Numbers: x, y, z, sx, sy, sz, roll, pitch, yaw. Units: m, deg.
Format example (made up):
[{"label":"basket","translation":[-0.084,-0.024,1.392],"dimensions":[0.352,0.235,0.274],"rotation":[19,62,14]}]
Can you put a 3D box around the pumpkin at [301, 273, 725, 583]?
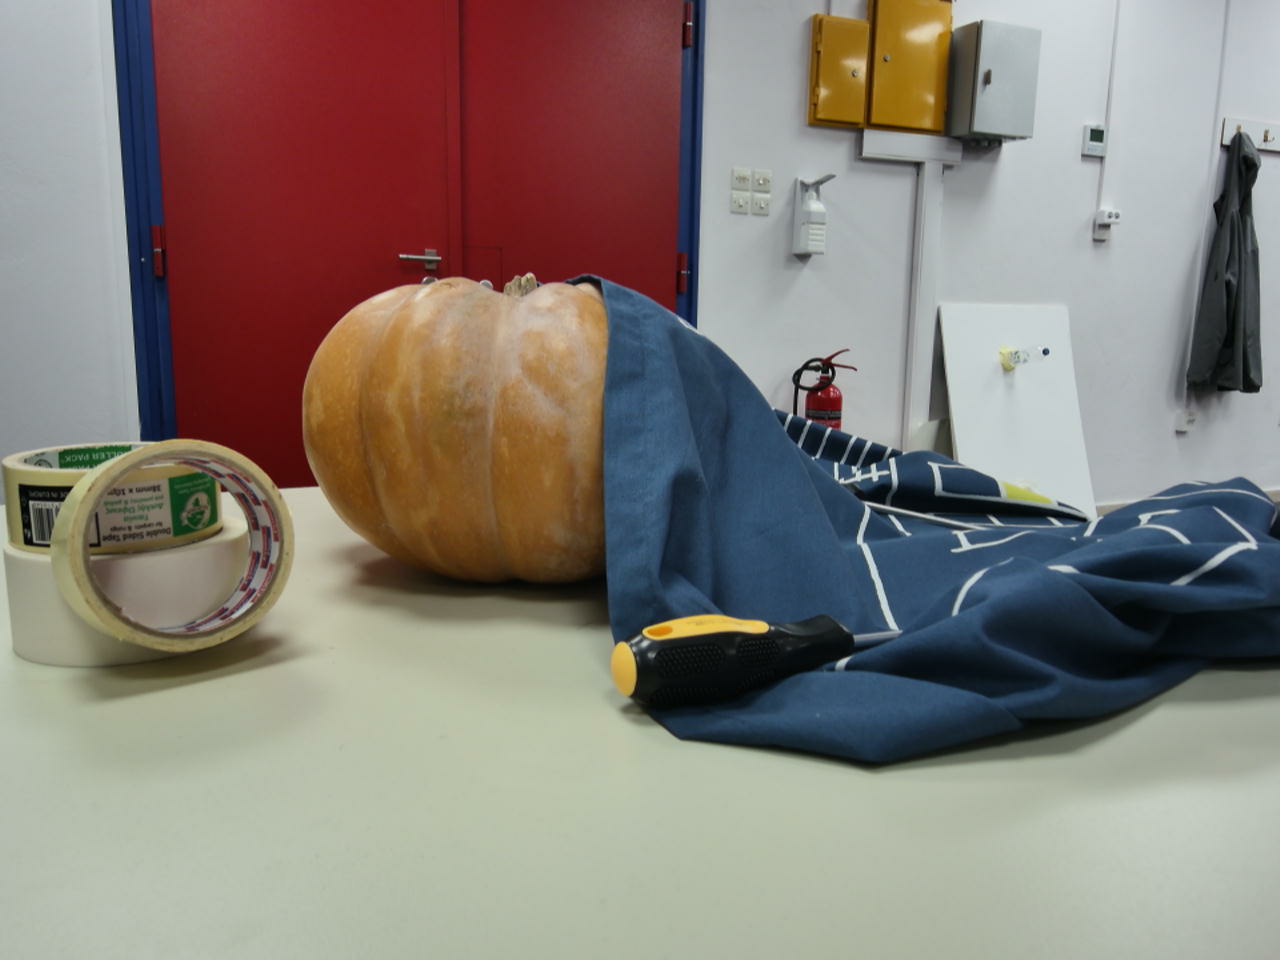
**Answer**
[{"label":"pumpkin","translation":[-0.073,-0.035,0.616],"dimensions":[0.277,0.181,0.277],"rotation":[1,8,0]}]
